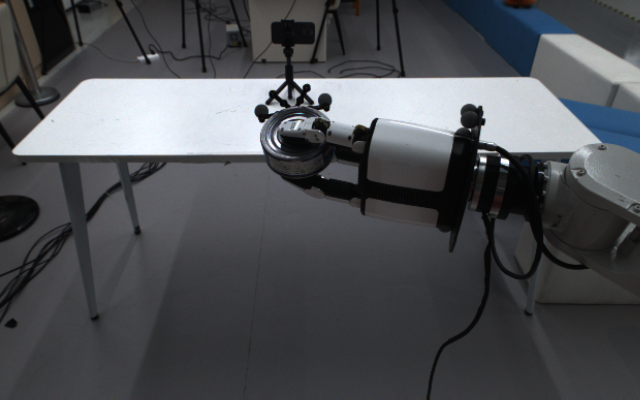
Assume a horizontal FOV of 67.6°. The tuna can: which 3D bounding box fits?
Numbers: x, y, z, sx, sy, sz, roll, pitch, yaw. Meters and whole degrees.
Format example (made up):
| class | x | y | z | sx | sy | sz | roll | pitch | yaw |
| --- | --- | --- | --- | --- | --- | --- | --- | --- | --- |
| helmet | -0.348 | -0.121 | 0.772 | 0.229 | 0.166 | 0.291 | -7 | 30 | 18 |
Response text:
| class | x | y | z | sx | sy | sz | roll | pitch | yaw |
| --- | --- | --- | --- | --- | --- | --- | --- | --- | --- |
| tuna can | -0.021 | -0.063 | 0.565 | 0.085 | 0.034 | 0.085 | -3 | 58 | 5 |
